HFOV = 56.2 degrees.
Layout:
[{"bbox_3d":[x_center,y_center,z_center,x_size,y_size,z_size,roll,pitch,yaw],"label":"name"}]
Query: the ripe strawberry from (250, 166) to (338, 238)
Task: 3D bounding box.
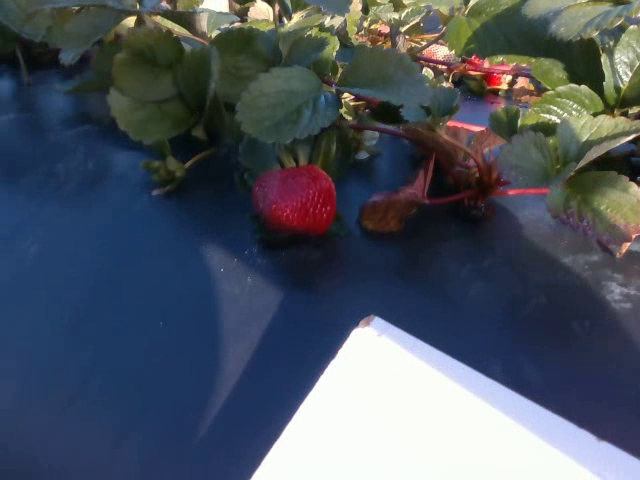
[{"bbox_3d":[-0.014,-0.016,0.249,0.040,0.041,0.056,-24,8,14],"label":"ripe strawberry"}]
